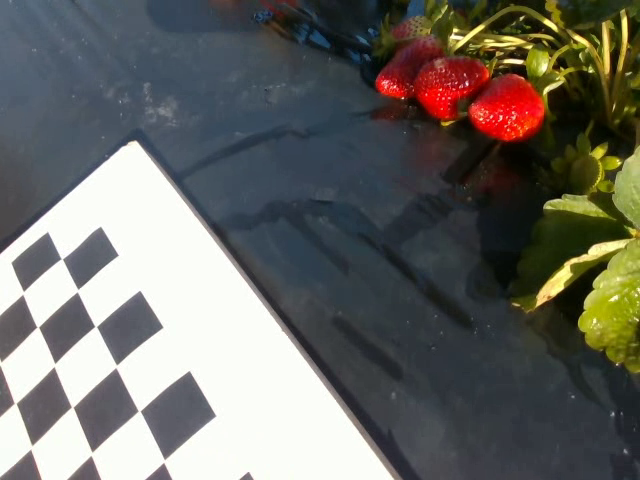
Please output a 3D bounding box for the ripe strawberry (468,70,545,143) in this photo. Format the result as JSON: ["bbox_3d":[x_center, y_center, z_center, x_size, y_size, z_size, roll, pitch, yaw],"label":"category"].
[{"bbox_3d":[0.077,-0.058,0.272,0.041,0.034,0.035,-7,36,-43],"label":"ripe strawberry"}]

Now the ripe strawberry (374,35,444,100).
[{"bbox_3d":[0.045,-0.089,0.308,0.045,0.023,0.031,-34,52,-15],"label":"ripe strawberry"}]

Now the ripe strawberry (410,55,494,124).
[{"bbox_3d":[0.060,-0.076,0.286,0.039,0.037,0.031,14,34,-44],"label":"ripe strawberry"}]
